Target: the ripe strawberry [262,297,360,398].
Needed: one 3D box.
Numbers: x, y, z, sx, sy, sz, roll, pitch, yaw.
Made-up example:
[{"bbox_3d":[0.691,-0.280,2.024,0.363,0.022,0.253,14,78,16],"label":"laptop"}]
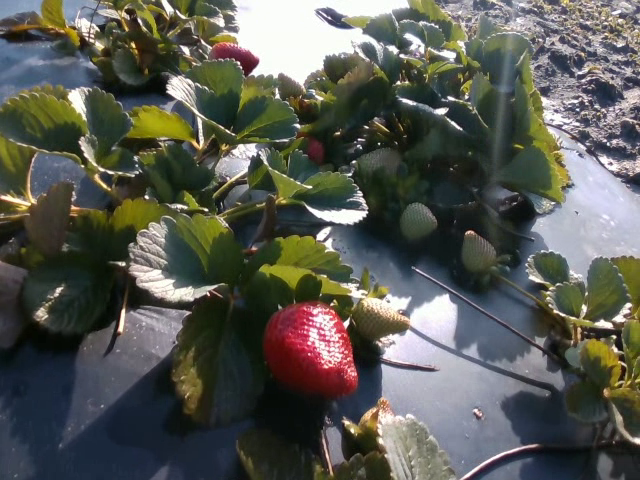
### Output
[{"bbox_3d":[-0.002,0.056,0.292,0.055,0.057,0.072,47,-5,-35],"label":"ripe strawberry"}]
